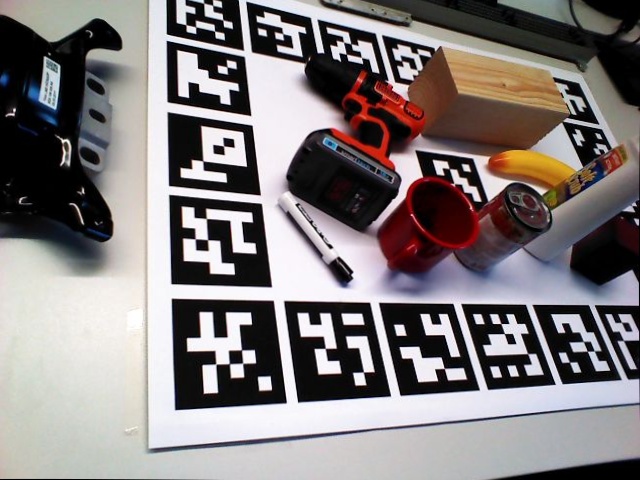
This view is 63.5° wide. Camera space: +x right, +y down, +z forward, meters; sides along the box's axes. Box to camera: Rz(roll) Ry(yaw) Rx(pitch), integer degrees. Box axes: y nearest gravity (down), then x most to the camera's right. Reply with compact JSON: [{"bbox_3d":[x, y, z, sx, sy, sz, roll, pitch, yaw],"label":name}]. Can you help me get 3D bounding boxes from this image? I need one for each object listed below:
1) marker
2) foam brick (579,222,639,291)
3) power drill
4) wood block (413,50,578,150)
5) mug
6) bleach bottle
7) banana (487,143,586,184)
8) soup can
[{"bbox_3d":[-0.003,0.006,0.559,0.019,0.020,0.121,-29,77,-33],"label":"marker"},{"bbox_3d":[0.400,0.022,0.700,0.053,0.078,0.051,31,51,-2],"label":"foam brick"},{"bbox_3d":[0.043,-0.128,0.641,0.184,0.058,0.185,30,52,-10],"label":"power drill"},{"bbox_3d":[0.253,-0.196,0.754,0.206,0.091,0.089,2,61,-24],"label":"wood block"},{"bbox_3d":[0.115,-0.007,0.578,0.093,0.082,0.116,41,56,0],"label":"mug"},{"bbox_3d":[0.355,-0.065,0.619,0.068,0.252,0.102,28,52,-6],"label":"bleach bottle"},{"bbox_3d":[0.332,-0.103,0.763,0.197,0.039,0.074,19,69,-17],"label":"banana"},{"bbox_3d":[0.219,-0.012,0.611,0.068,0.103,0.067,14,52,-18],"label":"soup can"}]
